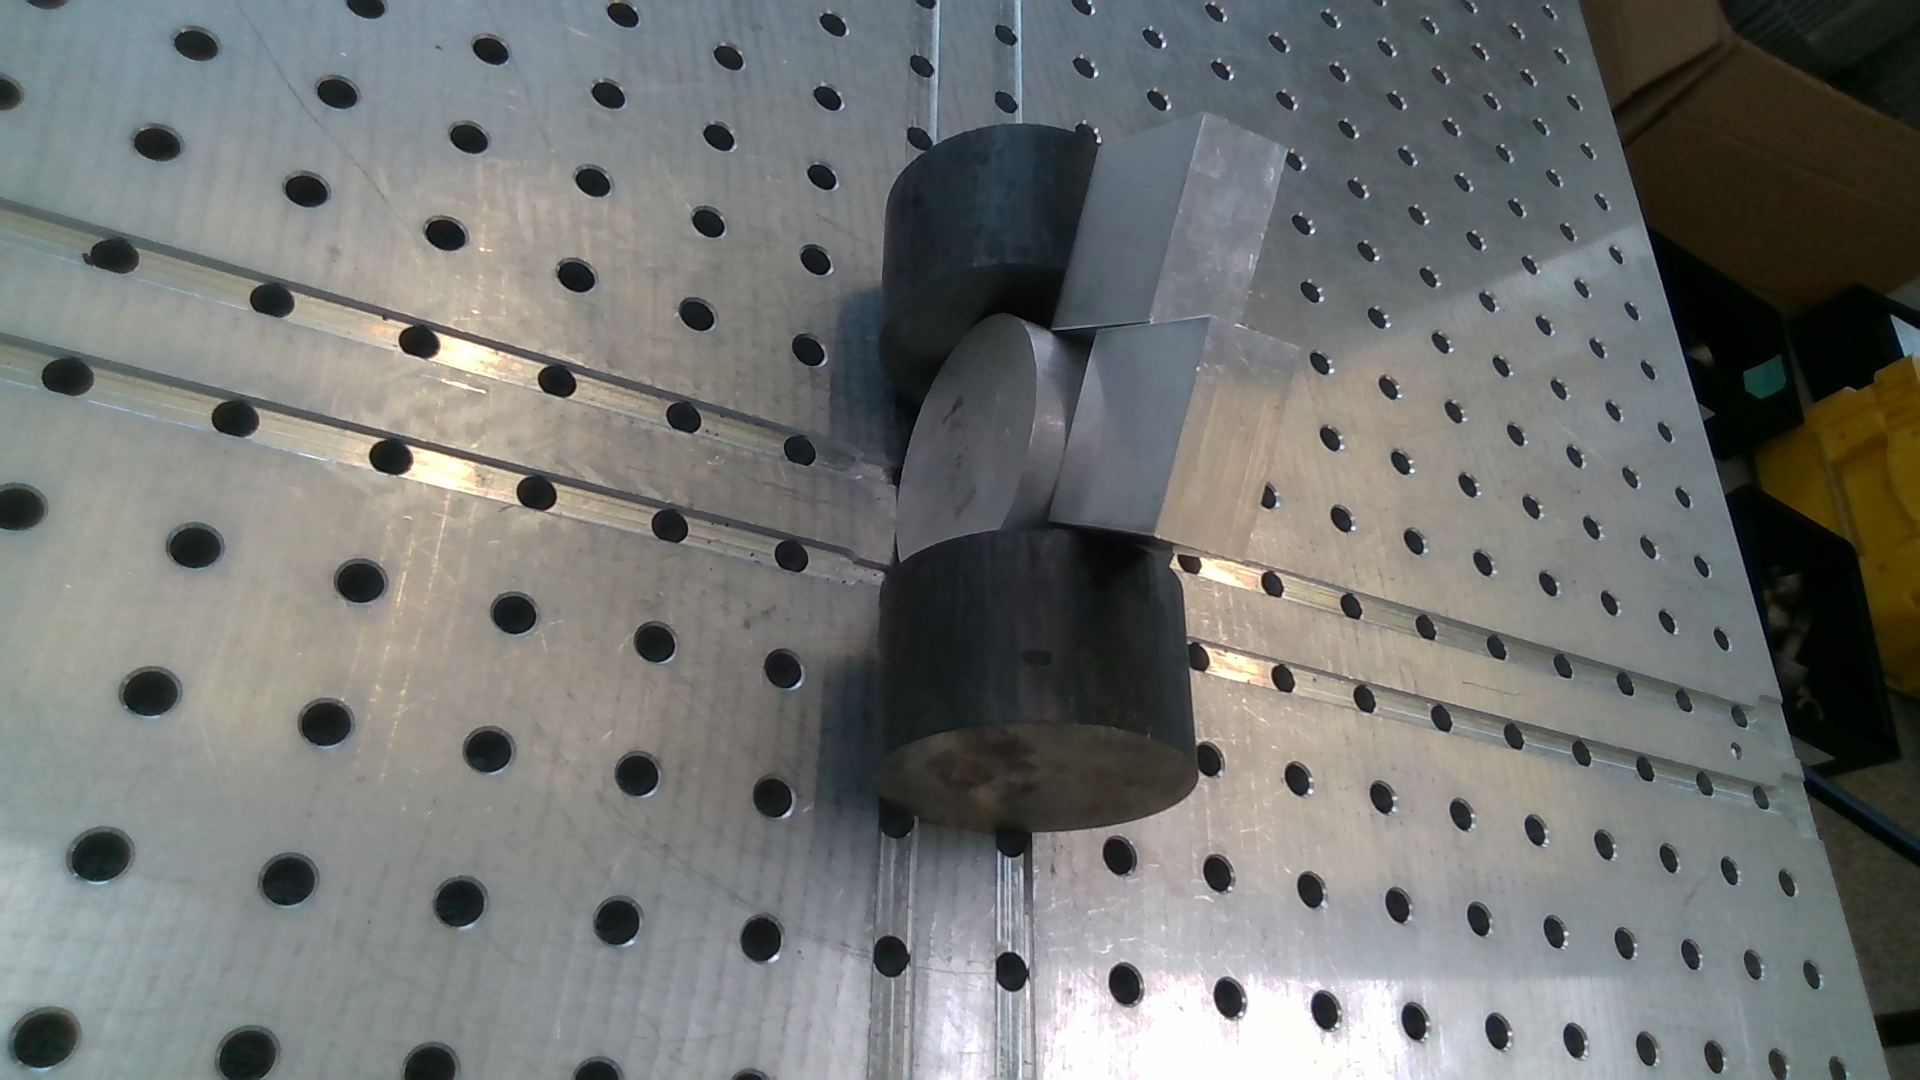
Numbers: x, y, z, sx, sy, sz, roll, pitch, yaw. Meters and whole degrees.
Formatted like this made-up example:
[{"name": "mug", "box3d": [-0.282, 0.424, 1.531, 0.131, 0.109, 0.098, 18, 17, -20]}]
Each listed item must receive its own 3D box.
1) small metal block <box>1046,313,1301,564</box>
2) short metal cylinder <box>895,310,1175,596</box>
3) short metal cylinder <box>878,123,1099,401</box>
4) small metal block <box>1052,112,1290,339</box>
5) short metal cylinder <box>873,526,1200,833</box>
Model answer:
[{"name": "small metal block", "box3d": [0.048, -0.024, 0.324, 0.025, 0.050, 0.050, 15, 89, -24]}, {"name": "short metal cylinder", "box3d": [0.022, -0.018, 0.384, 0.050, 0.080, 0.080, 15, 58, -24]}, {"name": "short metal cylinder", "box3d": [0.017, -0.076, 0.411, 0.080, 0.080, 0.050, 15, 58, -24]}, {"name": "small metal block", "box3d": [0.052, -0.075, 0.347, 0.025, 0.050, 0.050, 15, 90, -24]}, {"name": "short metal cylinder", "box3d": [0.019, 0.038, 0.351, 0.080, 0.080, 0.050, 15, 57, -24]}]
